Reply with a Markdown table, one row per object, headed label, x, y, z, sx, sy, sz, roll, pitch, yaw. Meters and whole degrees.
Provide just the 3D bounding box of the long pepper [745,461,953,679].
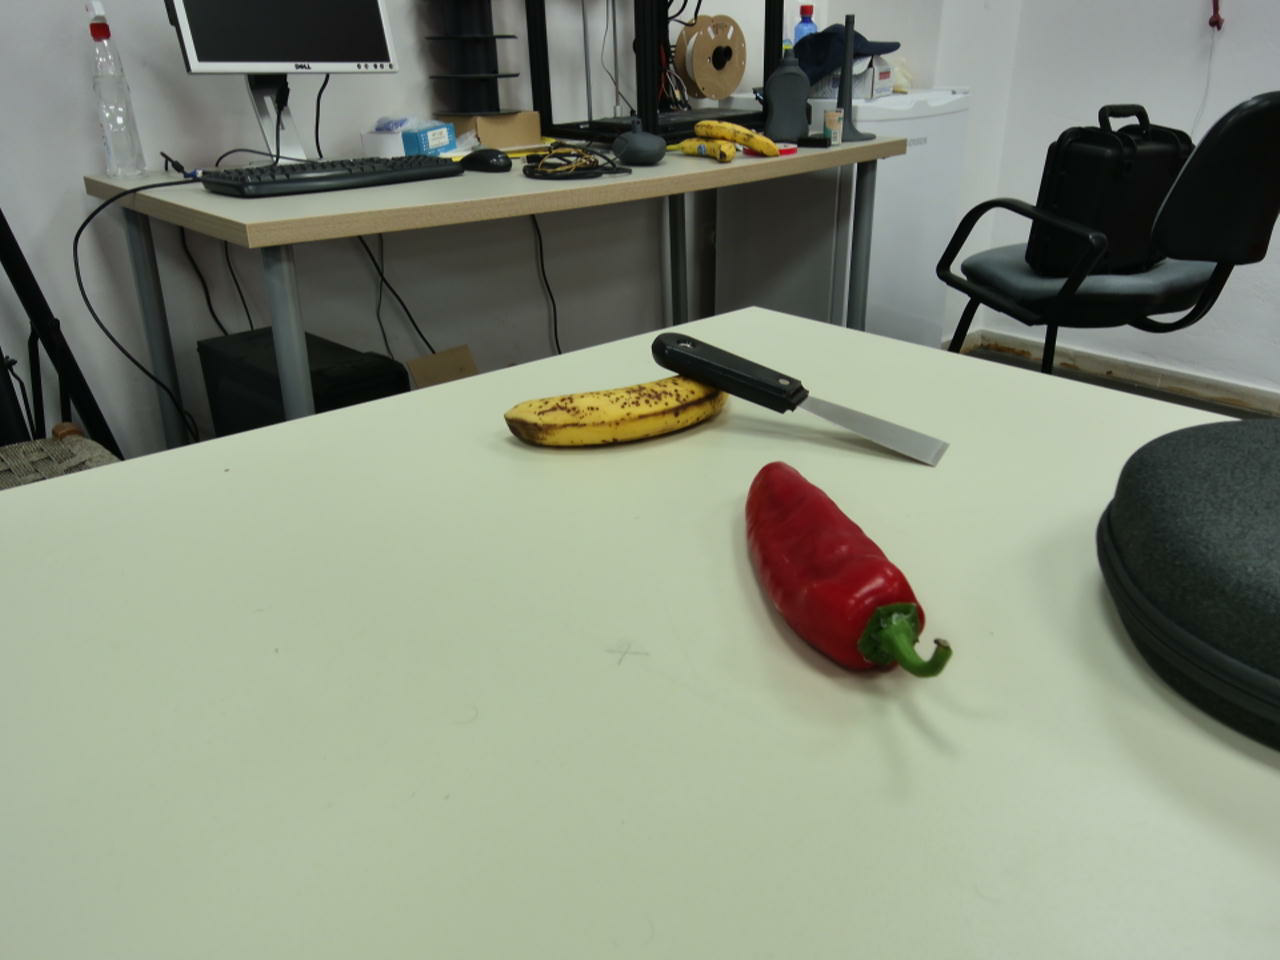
| label | x | y | z | sx | sy | sz | roll | pitch | yaw |
| --- | --- | --- | --- | --- | --- | --- | --- | --- | --- |
| long pepper | 0.079 | 0.032 | 0.437 | 0.050 | 0.043 | 0.211 | -3 | 22 | -7 |
